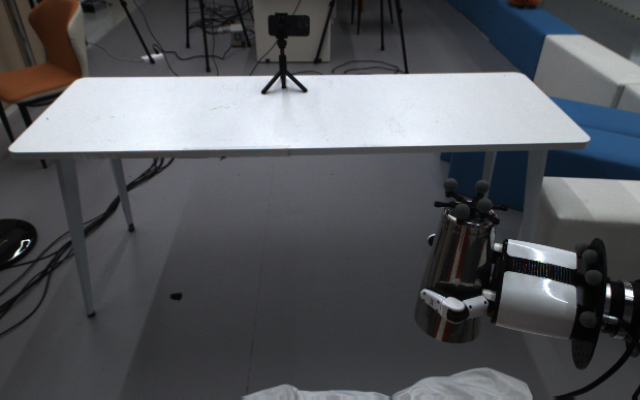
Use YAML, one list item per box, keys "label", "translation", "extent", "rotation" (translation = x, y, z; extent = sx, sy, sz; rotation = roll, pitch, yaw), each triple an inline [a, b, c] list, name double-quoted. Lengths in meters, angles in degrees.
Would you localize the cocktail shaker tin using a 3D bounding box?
- label: "cocktail shaker tin"
  translation: [0.182, 0.089, 0.630]
  extent: [0.093, 0.170, 0.093]
  rotation: [2, 28, -1]
